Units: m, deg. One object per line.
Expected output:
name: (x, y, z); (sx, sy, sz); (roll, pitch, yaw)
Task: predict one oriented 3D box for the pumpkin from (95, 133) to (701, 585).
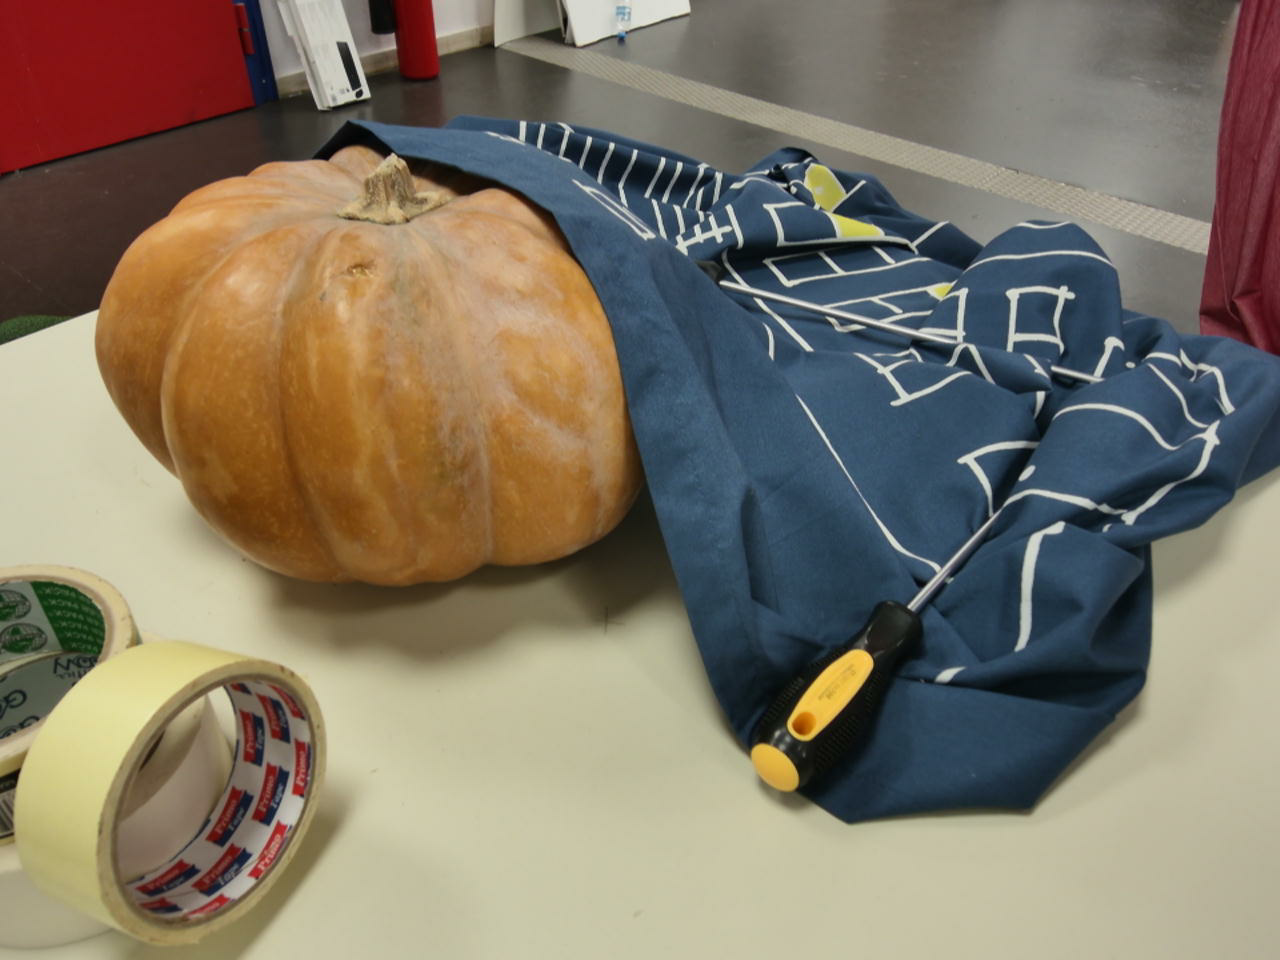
pumpkin: (-0.107, -0.062, 0.484); (0.277, 0.181, 0.277); (0, 37, 0)
